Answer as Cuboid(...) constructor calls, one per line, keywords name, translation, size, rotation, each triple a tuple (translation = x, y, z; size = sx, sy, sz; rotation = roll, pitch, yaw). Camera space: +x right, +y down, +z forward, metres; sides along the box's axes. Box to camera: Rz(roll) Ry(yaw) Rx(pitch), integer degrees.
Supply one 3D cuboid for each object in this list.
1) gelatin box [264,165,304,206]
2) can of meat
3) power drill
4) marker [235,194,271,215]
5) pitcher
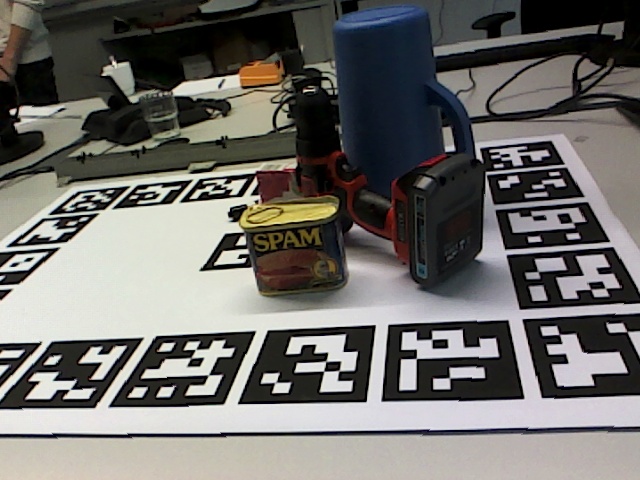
Cuboid(name="gelatin box", translation=(-0.021, -0.057, 0.788), size=(0.090, 0.073, 0.030), rotation=(3, 34, 23))
Cuboid(name="can of meat", translation=(-0.023, 0.012, 0.637), size=(0.102, 0.083, 0.058), rotation=(-4, 26, 13))
Cuboid(name="power drill", translation=(0.046, -0.064, 0.655), size=(0.188, 0.184, 0.057), rotation=(23, 45, 40))
Cuboid(name="marker", translation=(-0.060, -0.059, 0.859), size=(0.121, 0.019, 0.020), rotation=(-17, 28, -9))
Cuboid(name="pitcher", translation=(0.107, -0.136, 0.722), size=(0.190, 0.241, 0.133), rotation=(9, 35, 46))
